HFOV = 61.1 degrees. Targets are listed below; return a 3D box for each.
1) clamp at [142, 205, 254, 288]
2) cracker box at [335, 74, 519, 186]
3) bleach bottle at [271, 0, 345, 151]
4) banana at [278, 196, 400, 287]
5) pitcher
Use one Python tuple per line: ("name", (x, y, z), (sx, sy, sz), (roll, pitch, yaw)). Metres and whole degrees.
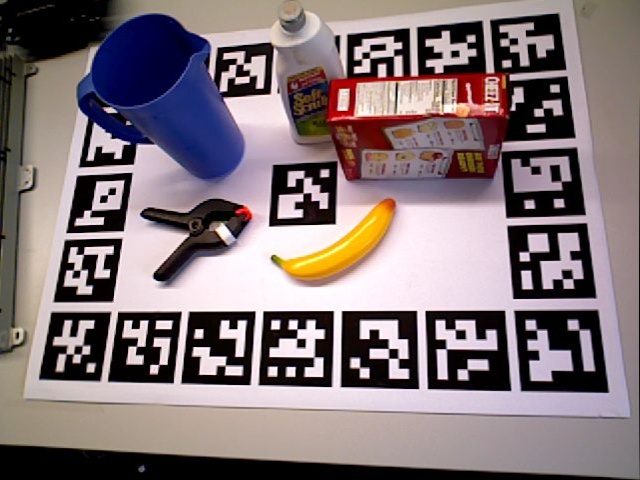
("clamp", (-0.178, -0.006, 0.801), (0.165, 0.037, 0.121), (-18, 67, 3))
("cracker box", (0.136, -0.140, 0.699), (0.214, 0.165, 0.071), (-1, 66, 12))
("bleach bottle", (-0.019, -0.214, 0.727), (0.103, 0.253, 0.067), (-2, 68, 10))
("banana", (0.040, 0.009, 0.759), (0.197, 0.039, 0.074), (-35, 67, -2))
("pitcher", (-0.207, -0.174, 0.731), (0.188, 0.245, 0.132), (-19, 67, 0))
